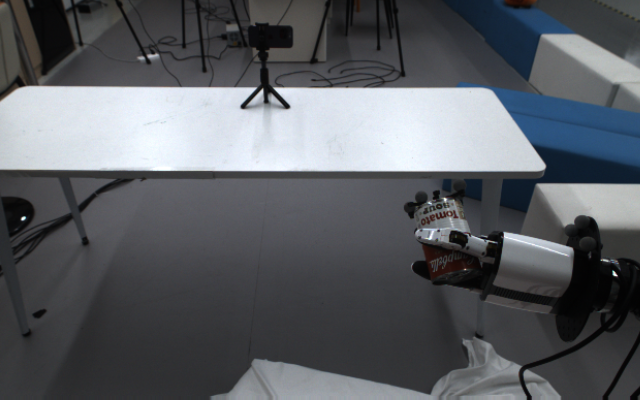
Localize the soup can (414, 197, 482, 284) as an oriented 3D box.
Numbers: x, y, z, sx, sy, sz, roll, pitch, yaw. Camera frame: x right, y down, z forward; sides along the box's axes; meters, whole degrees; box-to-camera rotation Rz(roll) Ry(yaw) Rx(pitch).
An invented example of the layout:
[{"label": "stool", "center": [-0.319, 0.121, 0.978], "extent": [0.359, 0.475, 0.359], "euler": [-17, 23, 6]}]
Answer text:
[{"label": "soup can", "center": [0.171, 0.055, 0.648], "extent": [0.067, 0.067, 0.101], "euler": [-6, 67, -12]}]
